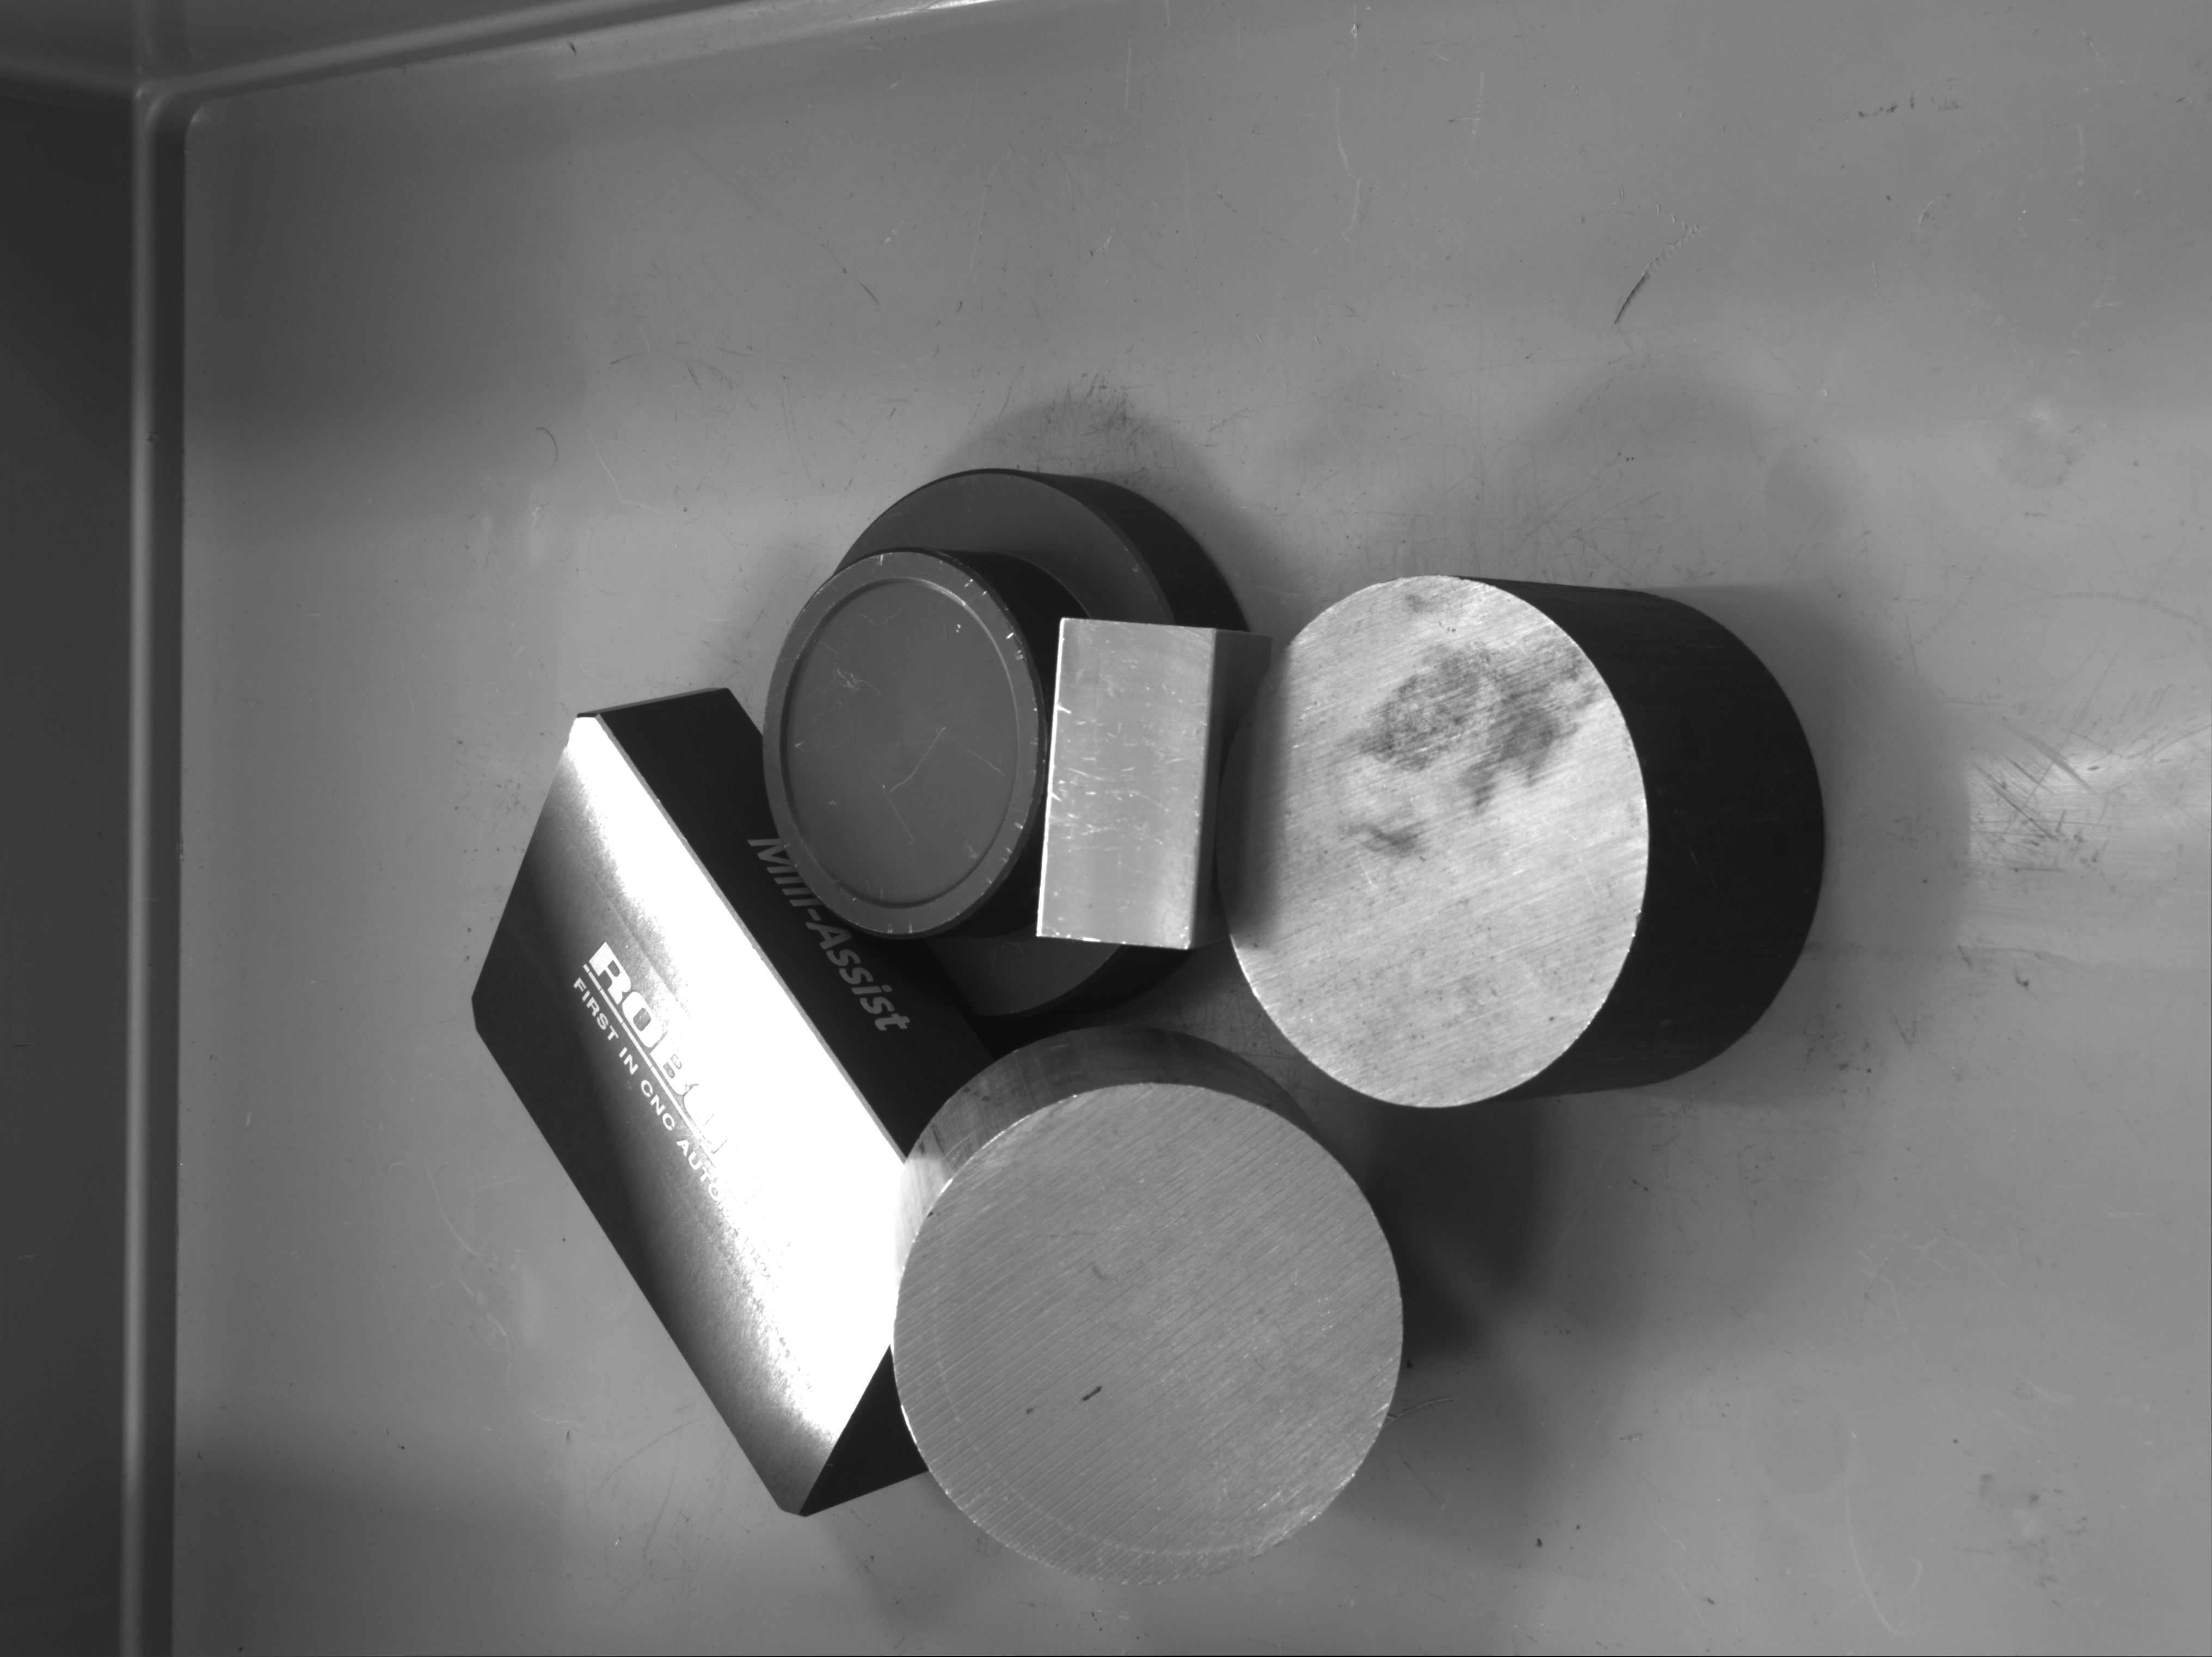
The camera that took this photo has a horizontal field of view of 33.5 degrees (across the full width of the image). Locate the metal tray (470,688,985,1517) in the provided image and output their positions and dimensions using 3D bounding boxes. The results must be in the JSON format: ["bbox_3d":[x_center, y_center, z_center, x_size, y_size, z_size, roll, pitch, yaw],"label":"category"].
[{"bbox_3d":[-0.066,0.050,0.681,0.130,0.030,0.090,53,136,27],"label":"metal tray"}]

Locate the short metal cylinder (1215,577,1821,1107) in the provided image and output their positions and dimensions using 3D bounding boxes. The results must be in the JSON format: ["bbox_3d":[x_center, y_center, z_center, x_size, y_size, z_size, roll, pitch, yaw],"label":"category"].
[{"bbox_3d":[0.064,0.002,0.574,0.080,0.050,0.080,0,90,40],"label":"short metal cylinder"}]

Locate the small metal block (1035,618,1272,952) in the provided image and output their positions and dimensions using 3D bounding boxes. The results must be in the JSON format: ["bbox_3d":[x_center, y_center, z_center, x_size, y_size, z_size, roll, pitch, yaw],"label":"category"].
[{"bbox_3d":[0.008,-0.008,0.596,0.025,0.050,0.050,5,93,12],"label":"small metal block"}]

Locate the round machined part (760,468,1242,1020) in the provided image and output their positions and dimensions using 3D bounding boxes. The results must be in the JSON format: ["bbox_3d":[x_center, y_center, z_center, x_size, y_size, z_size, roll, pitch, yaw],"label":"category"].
[{"bbox_3d":[-0.023,-0.015,0.652,0.098,0.042,0.098,0,90,40],"label":"round machined part"}]

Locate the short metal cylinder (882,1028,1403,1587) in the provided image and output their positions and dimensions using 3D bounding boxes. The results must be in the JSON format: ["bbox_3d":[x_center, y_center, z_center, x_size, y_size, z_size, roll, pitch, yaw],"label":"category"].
[{"bbox_3d":[0.004,0.076,0.596,0.050,0.080,0.080,-132,49,-81],"label":"short metal cylinder"}]
